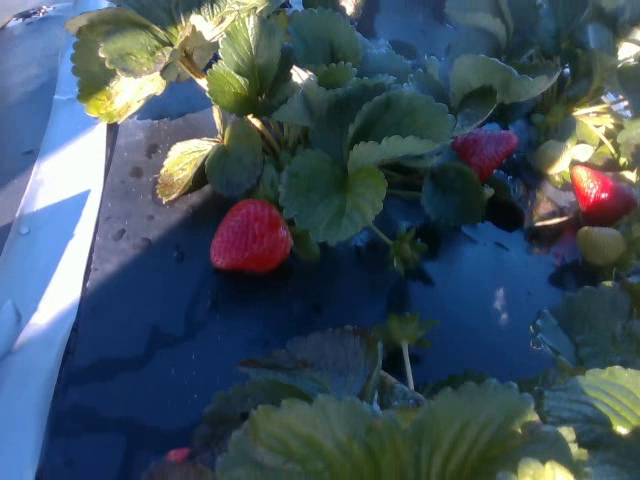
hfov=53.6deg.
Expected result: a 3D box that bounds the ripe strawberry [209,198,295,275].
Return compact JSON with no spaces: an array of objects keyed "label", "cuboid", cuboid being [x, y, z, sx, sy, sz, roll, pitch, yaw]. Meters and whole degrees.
[{"label":"ripe strawberry","cuboid":[-0.040,0.000,0.334,0.045,0.042,0.058,1,35,44]}]
